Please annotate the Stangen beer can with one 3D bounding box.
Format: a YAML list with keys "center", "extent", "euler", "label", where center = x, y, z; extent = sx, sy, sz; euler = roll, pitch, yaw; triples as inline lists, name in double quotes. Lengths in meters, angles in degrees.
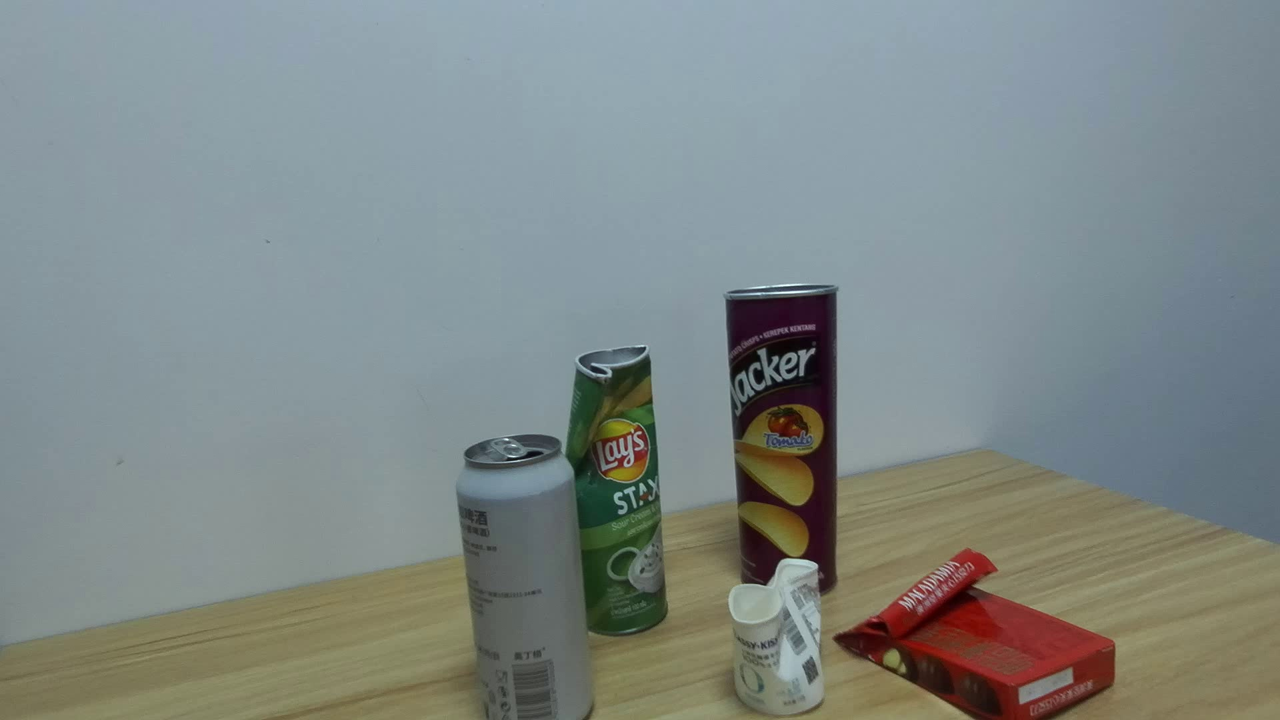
- center: [-0.066, 0.132, 0.412]
  extent: [0.067, 0.171, 0.067]
  euler: [-5, 9, 1]
  label: "Stangen beer can"

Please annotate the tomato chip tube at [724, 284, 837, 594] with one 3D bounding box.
- center: [0.114, 0.062, 0.549]
  extent: [0.080, 0.234, 0.077]
  euler: [4, 12, 37]
  label: "tomato chip tube"

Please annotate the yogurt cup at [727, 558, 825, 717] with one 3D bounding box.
- center: [0.083, 0.167, 0.425]
  extent: [0.053, 0.071, 0.075]
  euler: [-1, 12, 11]
  label: "yogurt cup"

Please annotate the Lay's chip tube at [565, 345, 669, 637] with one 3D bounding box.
- center: [-0.018, 0.095, 0.519]
  extent: [0.069, 0.201, 0.077]
  euler: [-3, 13, -2]
  label: "Lay's chip tube"

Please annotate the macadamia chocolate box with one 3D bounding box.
- center: [0.207, 0.176, 0.445]
  extent: [0.112, 0.056, 0.126]
  euler: [-24, 19, -20]
  label: "macadamia chocolate box"
